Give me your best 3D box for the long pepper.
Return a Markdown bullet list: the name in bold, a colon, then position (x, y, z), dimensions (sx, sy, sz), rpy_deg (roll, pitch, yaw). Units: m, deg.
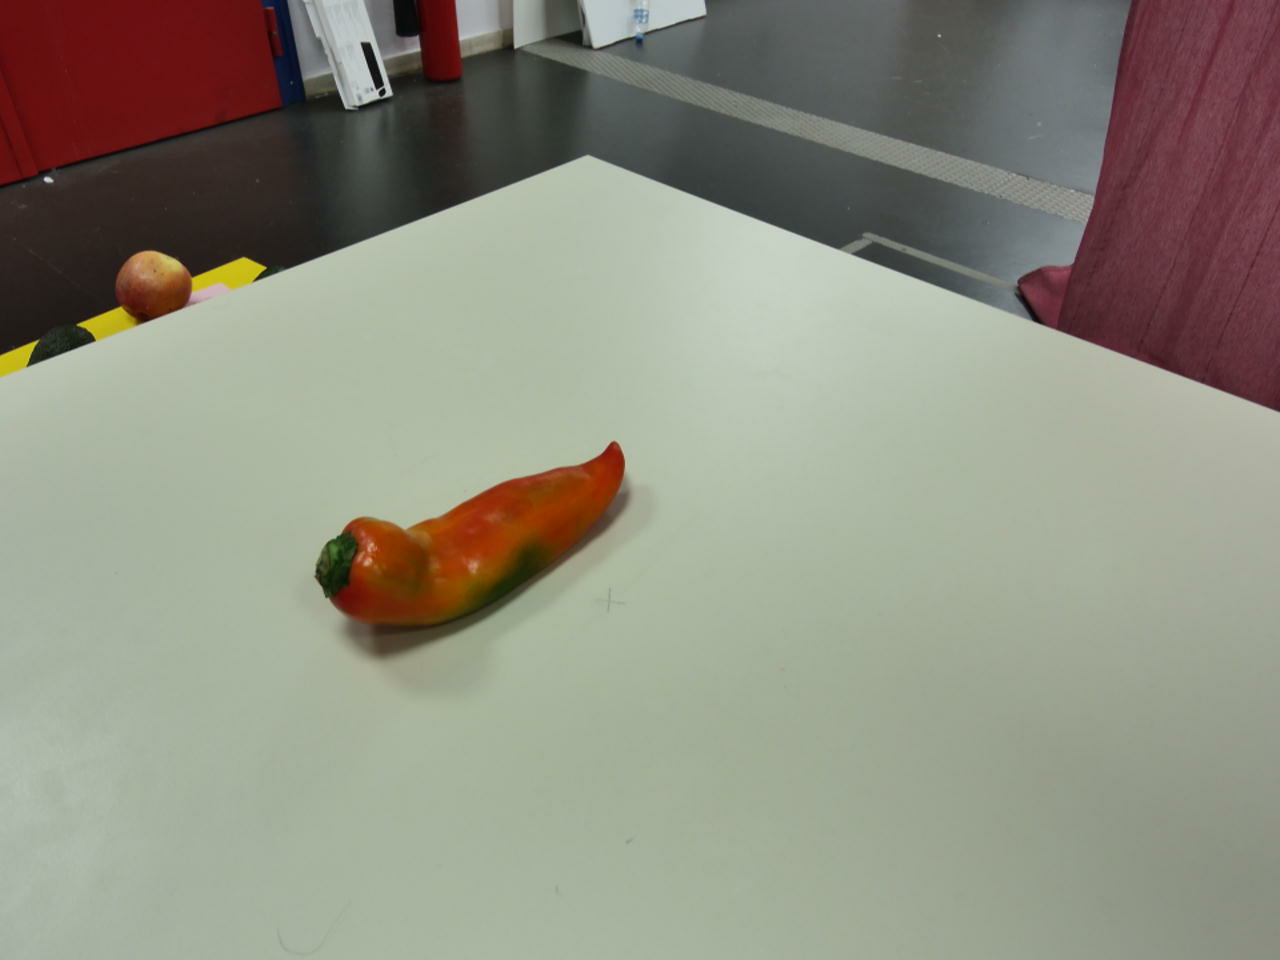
- **long pepper**: position (-0.080, 0.019, 0.539), dimensions (0.199, 0.065, 0.066), rpy_deg (-29, 47, -34)
